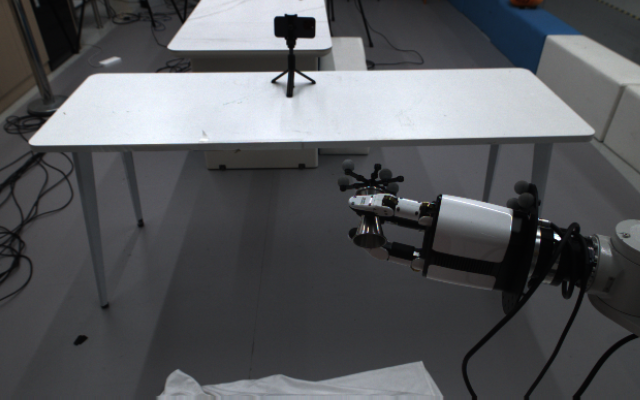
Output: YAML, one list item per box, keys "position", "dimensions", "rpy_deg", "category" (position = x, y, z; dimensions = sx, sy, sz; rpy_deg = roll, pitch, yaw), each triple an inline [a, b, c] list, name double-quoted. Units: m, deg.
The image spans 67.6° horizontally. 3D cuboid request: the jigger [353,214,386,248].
- position: [0.063, 0.020, 0.619]
  dimensions: [0.043, 0.043, 0.071]
  rpy_deg: [4, 60, 3]
  category: "jigger"
